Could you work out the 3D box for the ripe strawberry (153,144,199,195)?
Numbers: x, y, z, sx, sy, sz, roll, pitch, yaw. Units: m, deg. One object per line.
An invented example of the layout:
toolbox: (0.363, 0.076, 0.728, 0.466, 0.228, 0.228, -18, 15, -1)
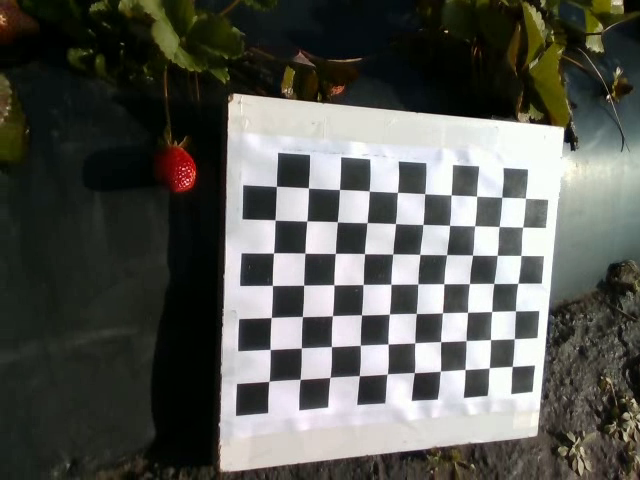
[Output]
ripe strawberry: (-0.085, -0.039, 0.364, 0.034, 0.033, 0.038, -1, 43, -21)
